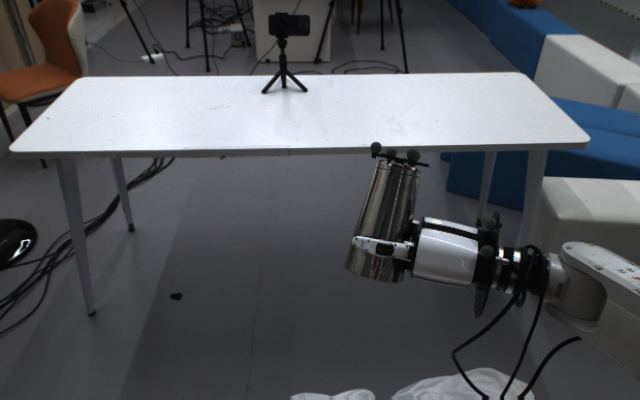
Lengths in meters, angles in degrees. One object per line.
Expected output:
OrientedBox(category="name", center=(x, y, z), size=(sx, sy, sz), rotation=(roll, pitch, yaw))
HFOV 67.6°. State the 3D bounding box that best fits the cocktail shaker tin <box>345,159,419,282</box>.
OrientedBox(category="cocktail shaker tin", center=(0.100, 0.030, 0.737), size=(0.093, 0.170, 0.093), rotation=(13, 4, -1))
